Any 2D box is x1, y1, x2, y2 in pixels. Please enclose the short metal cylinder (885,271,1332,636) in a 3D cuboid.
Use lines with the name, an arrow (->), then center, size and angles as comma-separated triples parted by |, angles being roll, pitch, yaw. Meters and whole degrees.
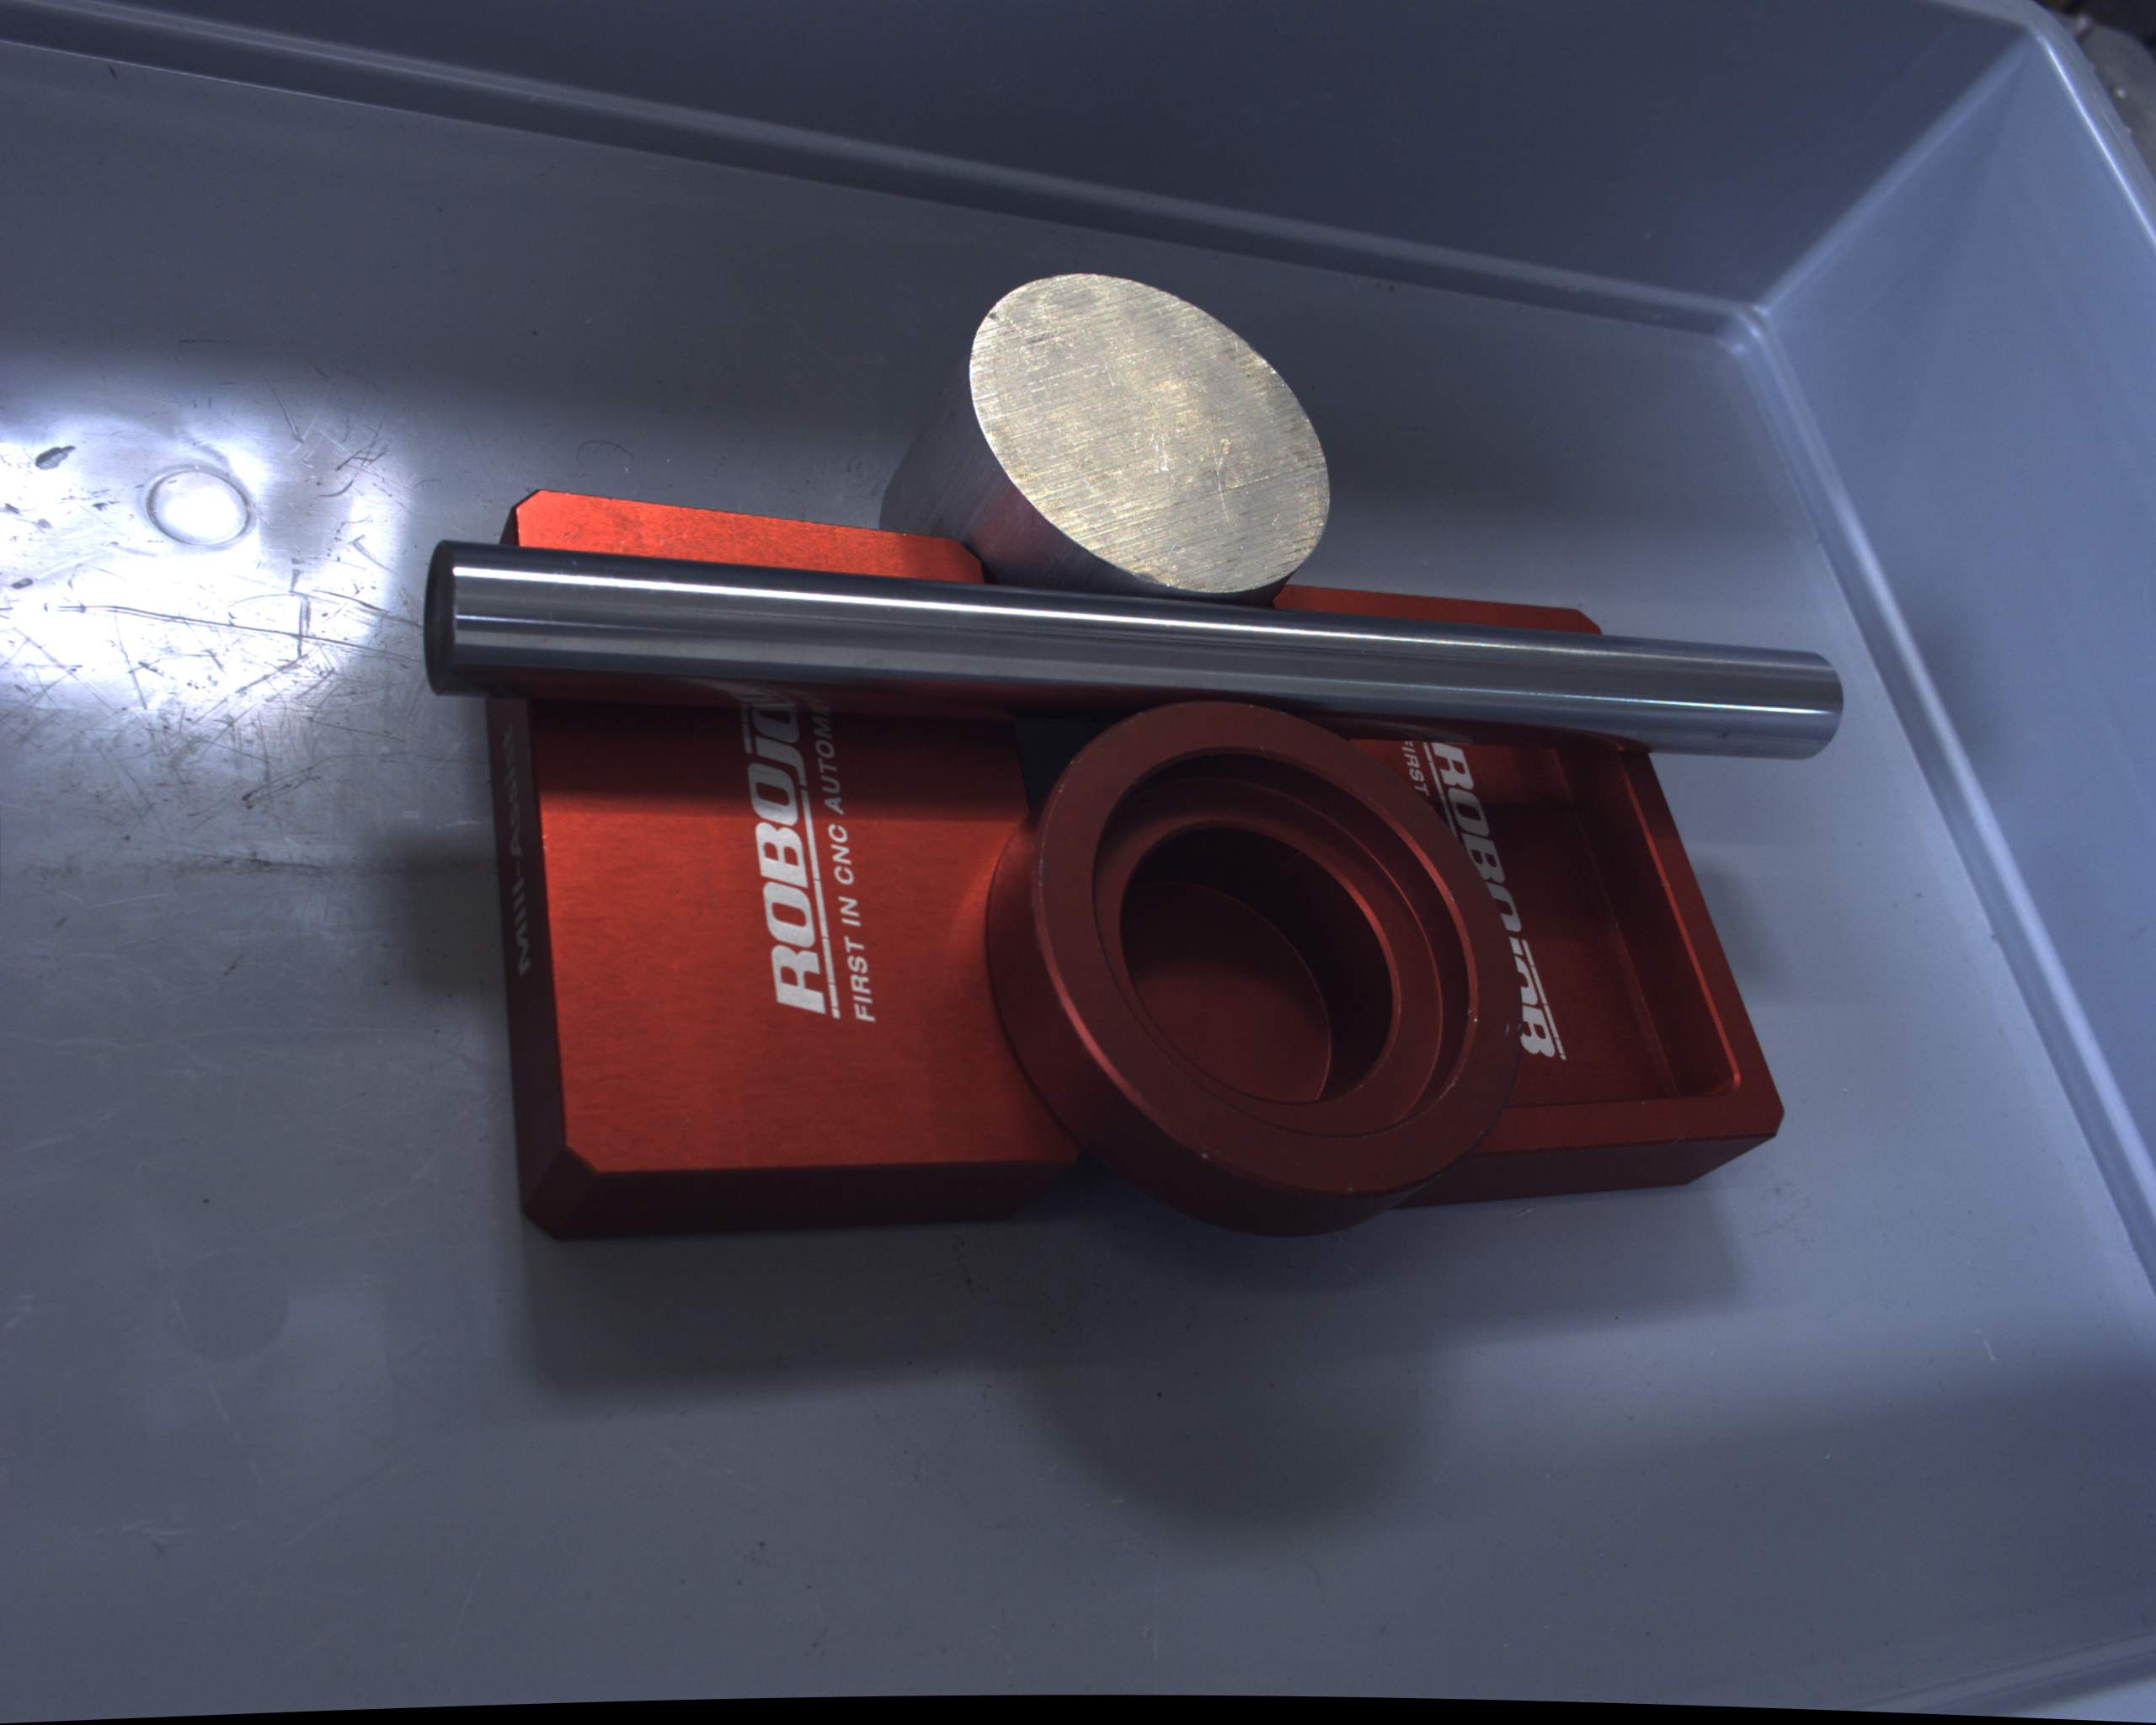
short metal cylinder -> 0.005, -0.076, 0.436 | 0.081, 0.050, 0.080 | 14, 56, -21

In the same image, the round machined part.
round machined part -> 0.029, 0.022, 0.383 | 0.099, 0.042, 0.098 | 14, 56, -21

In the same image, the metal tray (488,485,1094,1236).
metal tray -> -0.054, -0.002, 0.371 | 0.091, 0.030, 0.130 | 3, 61, -27

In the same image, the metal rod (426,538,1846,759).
metal rod -> 0.032, -0.038, 0.404 | 0.303, 0.025, 0.025 | 1, 62, -28

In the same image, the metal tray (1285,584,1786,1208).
metal tray -> 0.087, 0.005, 0.444 | 0.091, 0.030, 0.130 | 1, 61, -28
